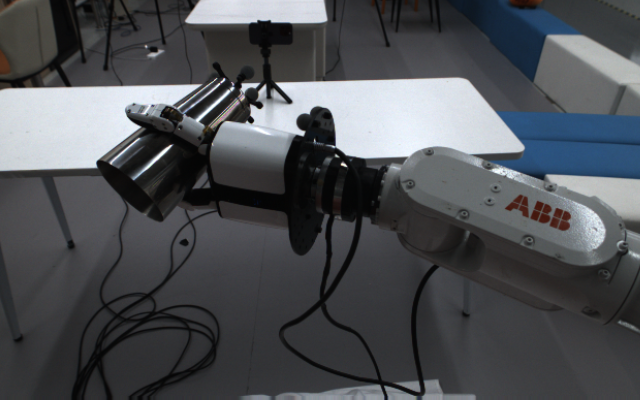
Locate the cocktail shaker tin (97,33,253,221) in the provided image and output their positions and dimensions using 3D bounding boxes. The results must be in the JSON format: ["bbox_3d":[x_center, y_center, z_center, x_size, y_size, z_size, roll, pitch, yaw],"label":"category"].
[{"bbox_3d":[-0.158,-0.071,0.559,0.093,0.093,0.170,23,57,27],"label":"cocktail shaker tin"}]
